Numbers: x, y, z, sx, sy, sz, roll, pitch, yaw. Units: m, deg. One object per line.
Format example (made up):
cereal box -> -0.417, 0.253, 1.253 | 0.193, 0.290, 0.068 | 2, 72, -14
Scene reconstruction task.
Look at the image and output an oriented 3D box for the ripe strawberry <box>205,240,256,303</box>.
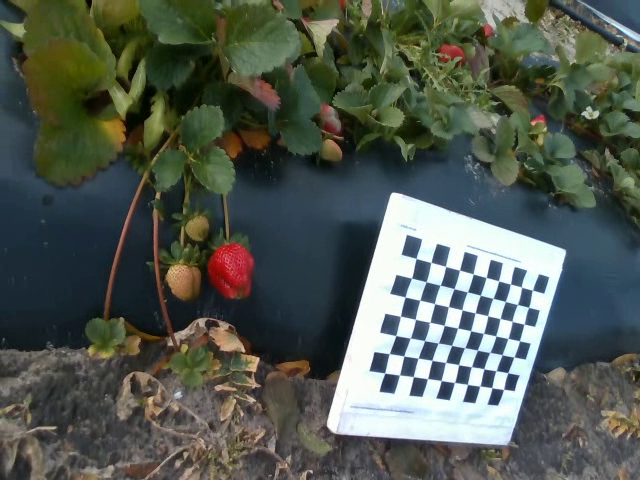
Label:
ripe strawberry -> -0.086, 0.030, 0.662 | 0.066, 0.075, 0.052 | -7, 13, -30
